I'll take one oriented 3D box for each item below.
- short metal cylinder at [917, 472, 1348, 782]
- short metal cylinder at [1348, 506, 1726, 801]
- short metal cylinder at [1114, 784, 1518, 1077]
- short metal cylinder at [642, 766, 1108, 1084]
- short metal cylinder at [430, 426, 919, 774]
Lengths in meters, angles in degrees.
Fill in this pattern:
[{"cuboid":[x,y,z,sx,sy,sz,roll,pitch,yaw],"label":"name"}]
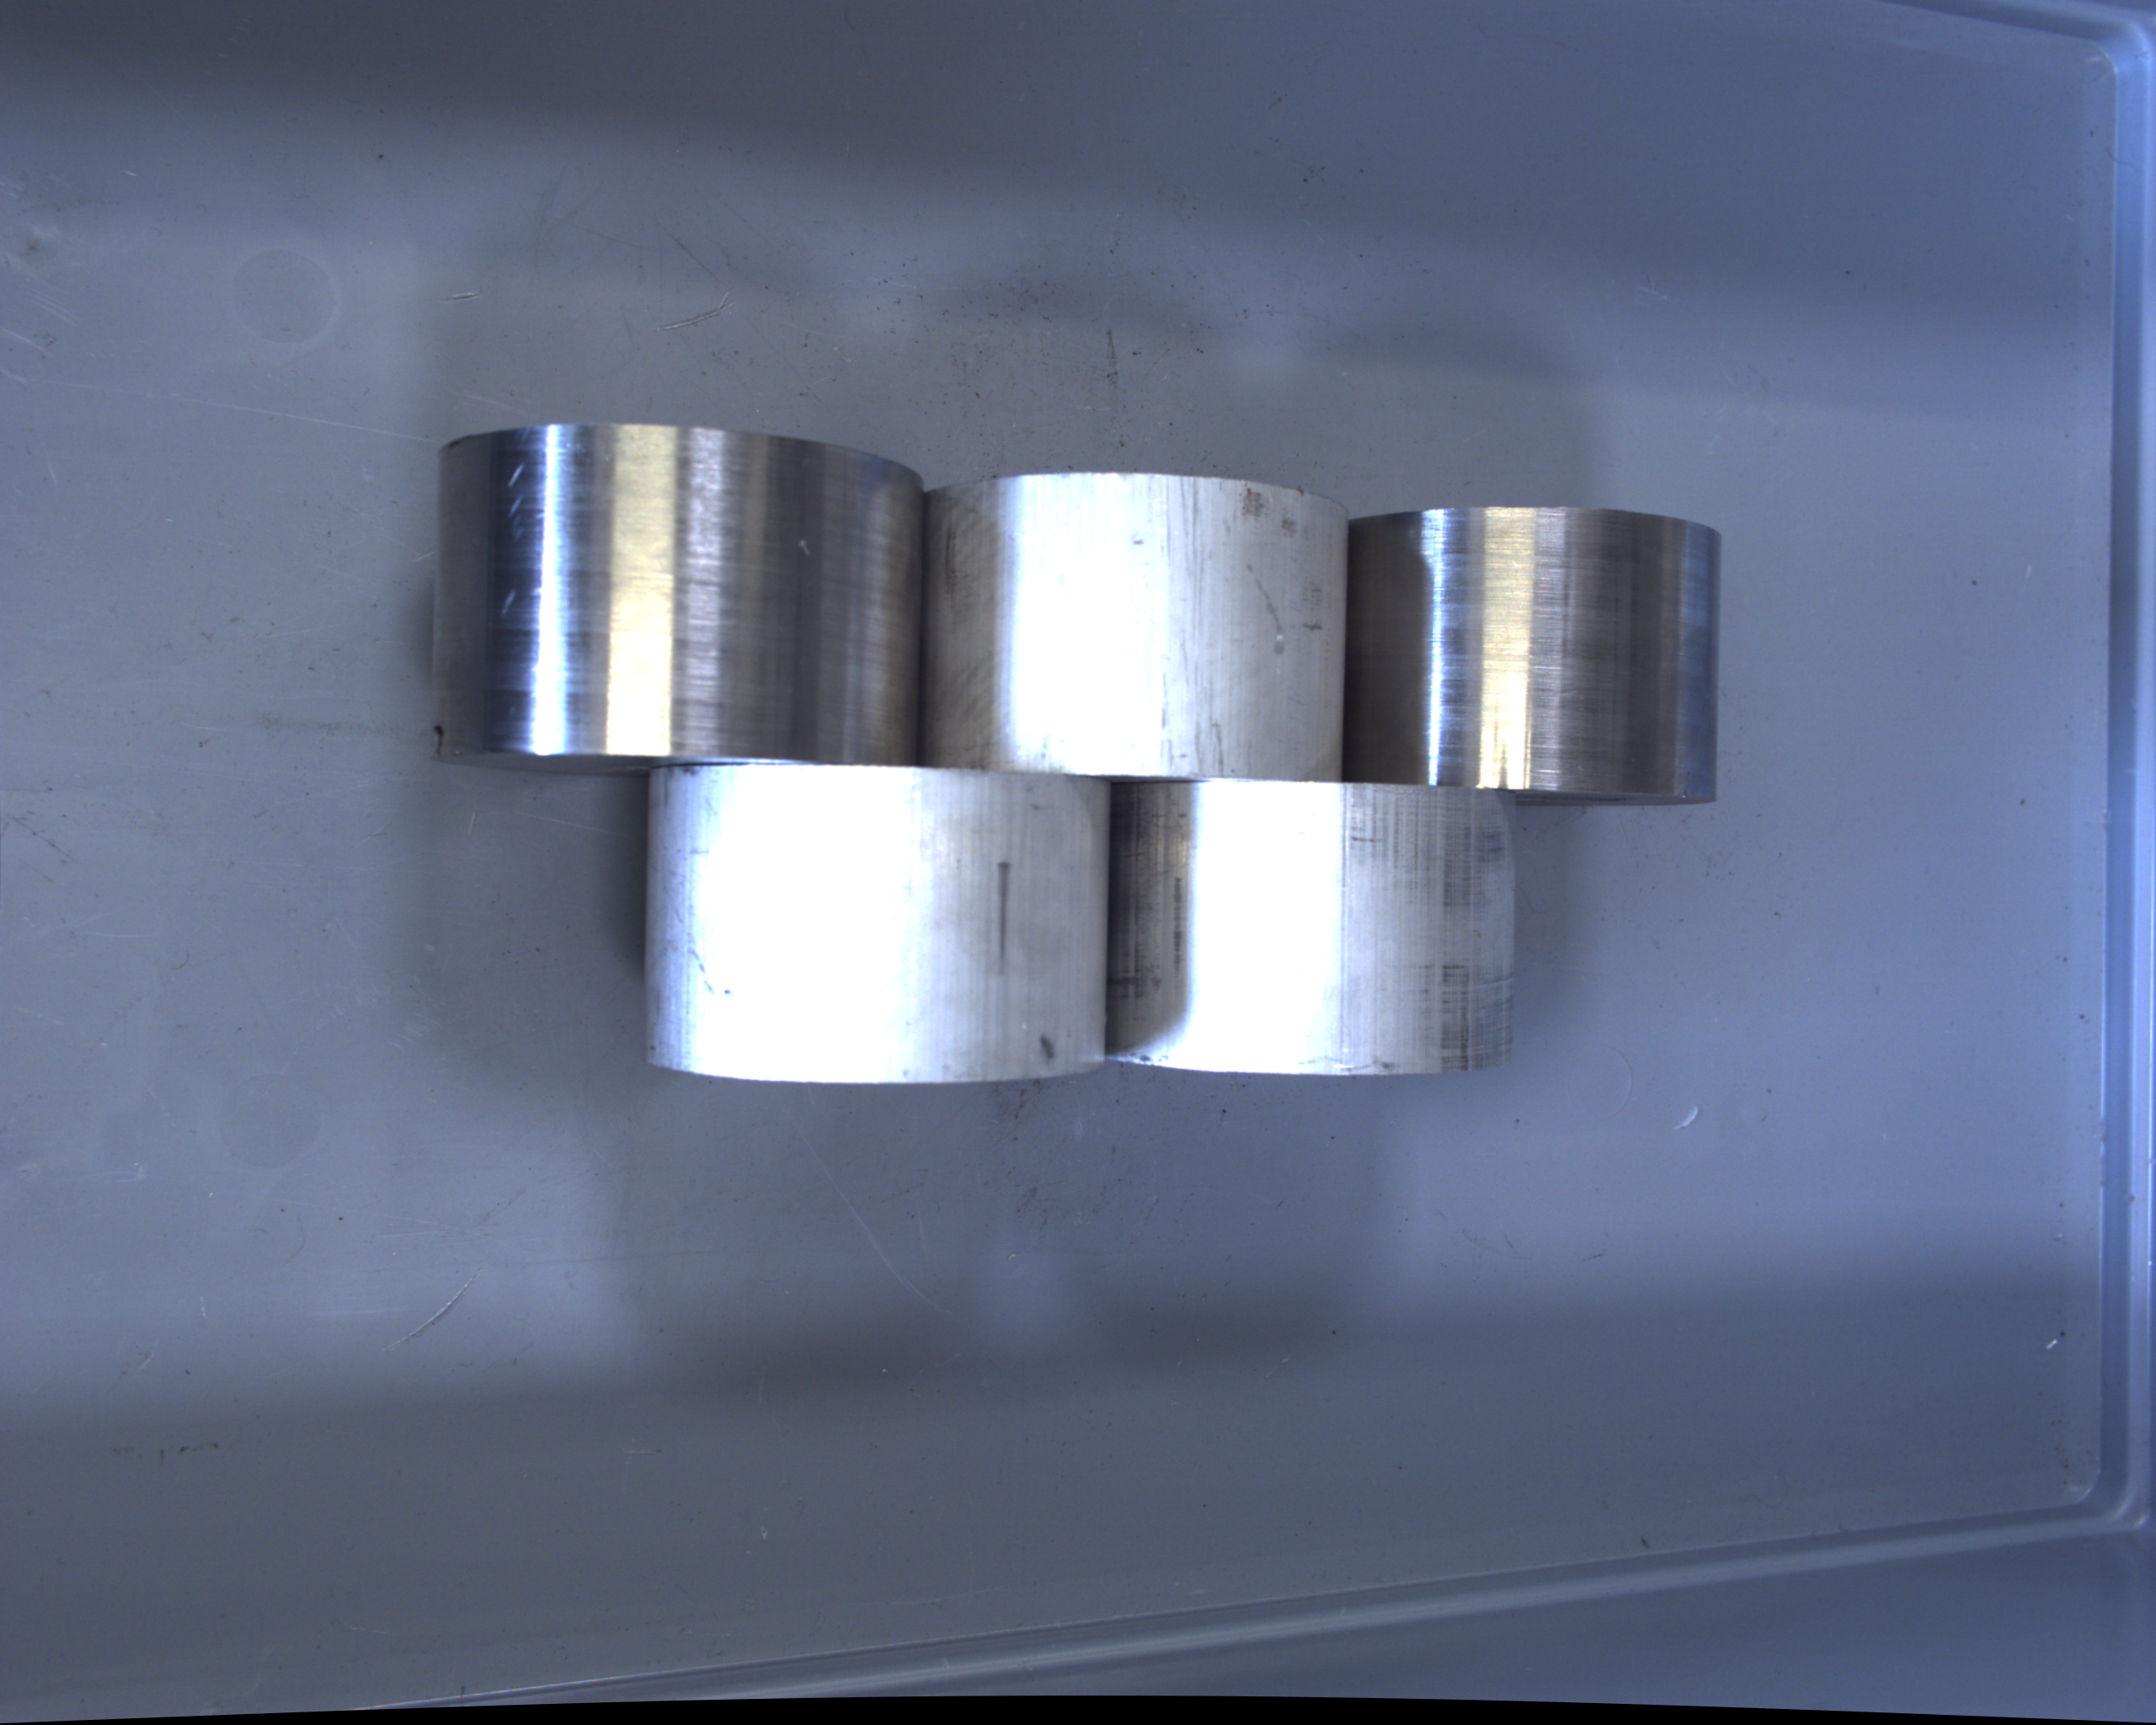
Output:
[{"cuboid":[0.009,-0.039,0.382,0.081,0.080,0.050,1,90,-20],"label":"short metal cylinder"},{"cuboid":[0.085,-0.038,0.410,0.081,0.080,0.050,2,90,-20],"label":"short metal cylinder"},{"cuboid":[0.042,0.011,0.395,0.081,0.080,0.050,1,90,-20],"label":"short metal cylinder"},{"cuboid":[-0.035,0.010,0.366,0.081,0.080,0.050,1,90,-20],"label":"short metal cylinder"},{"cuboid":[-0.068,-0.041,0.354,0.081,0.080,0.050,1,90,-20],"label":"short metal cylinder"}]
